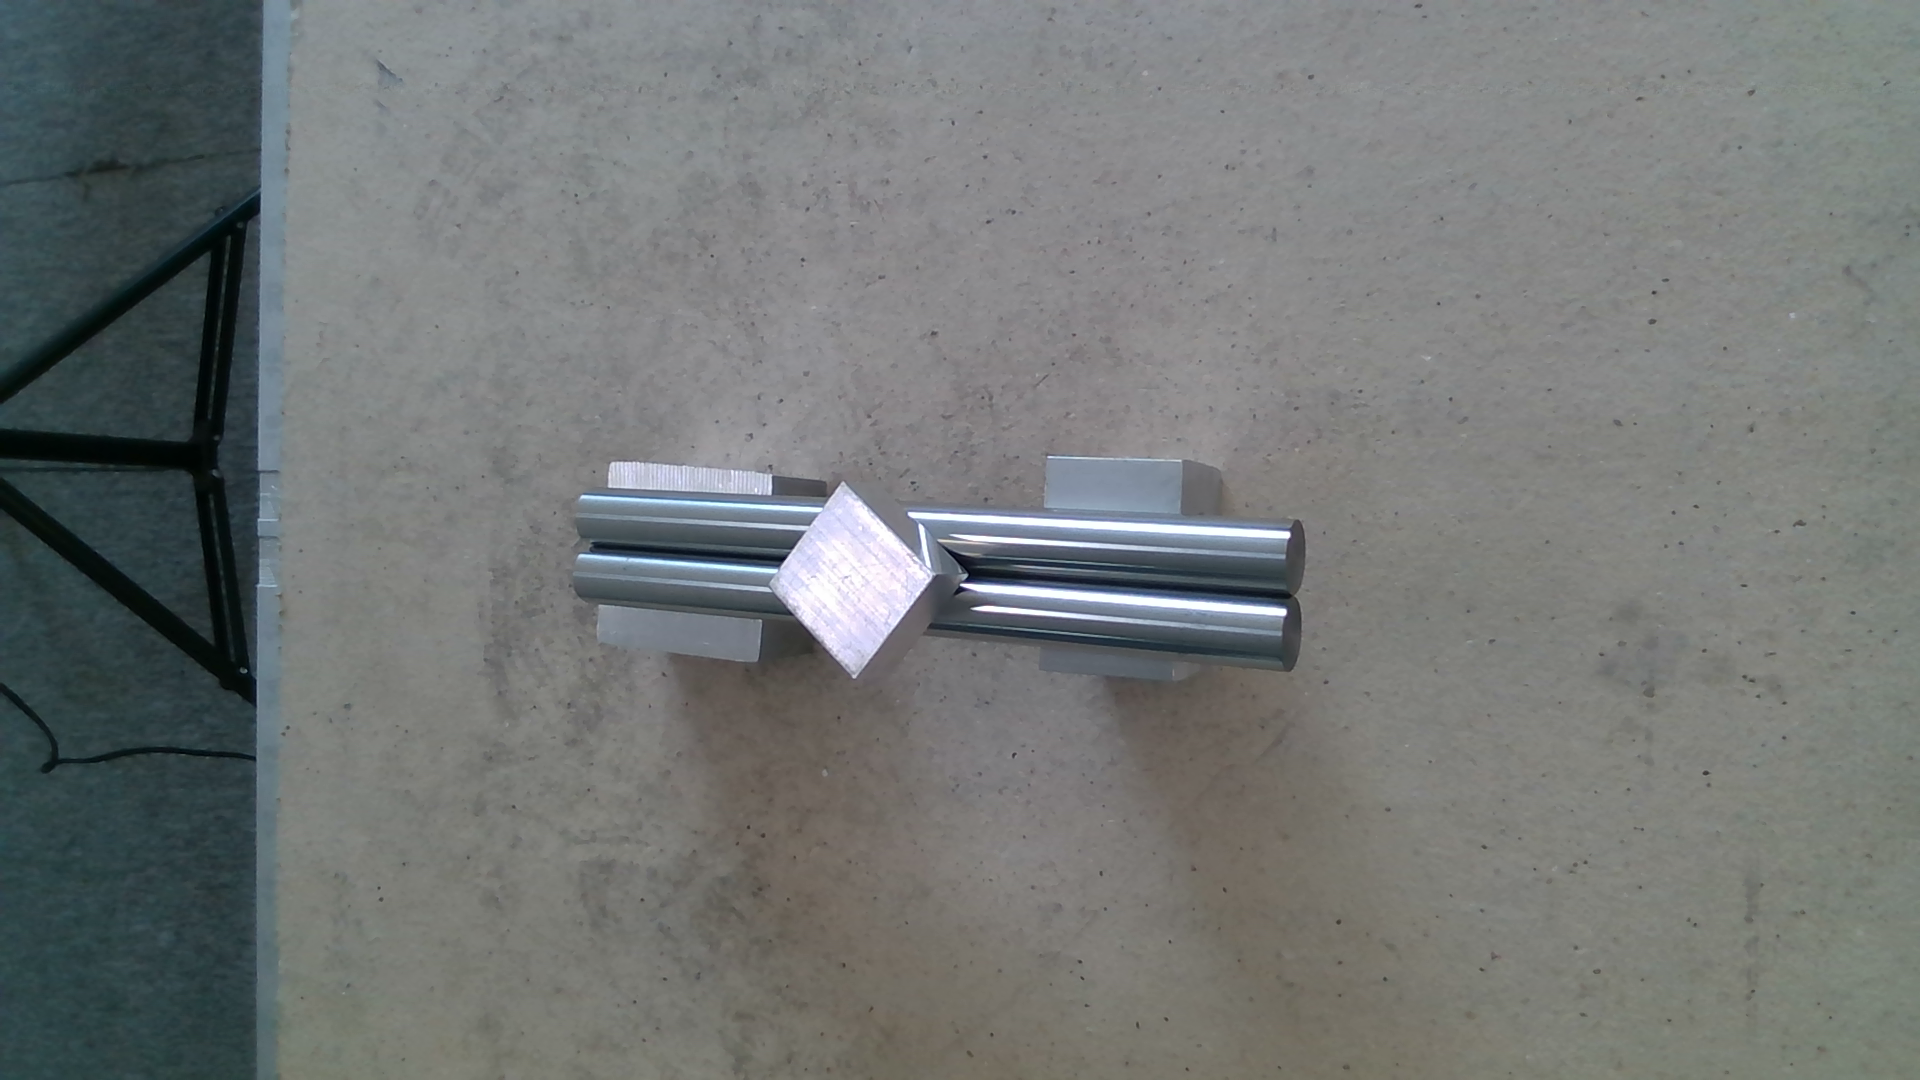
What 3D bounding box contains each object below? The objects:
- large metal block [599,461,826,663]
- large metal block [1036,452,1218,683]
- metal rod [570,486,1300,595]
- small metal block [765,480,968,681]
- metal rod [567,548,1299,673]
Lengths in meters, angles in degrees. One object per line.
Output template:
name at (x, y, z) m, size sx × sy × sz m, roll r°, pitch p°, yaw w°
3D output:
large metal block at (-0.110, 0.008, 0.613) m, size 0.080 × 0.050 × 0.080 m, roll 5°, pitch 92°, yaw 20°
large metal block at (0.067, 0.009, 0.532) m, size 0.050 × 0.080 × 0.080 m, roll 4°, pitch 92°, yaw 20°
metal rod at (-0.024, -0.003, 0.517) m, size 0.300 × 0.025 × 0.025 m, roll 3°, pitch 92°, yaw 27°
small metal block at (-0.034, 0.014, 0.495) m, size 0.050 × 0.025 × 0.050 m, roll 45°, pitch 110°, yaw 20°
metal rod at (-0.026, 0.023, 0.518) m, size 0.300 × 0.025 × 0.025 m, roll 3°, pitch 92°, yaw 27°
